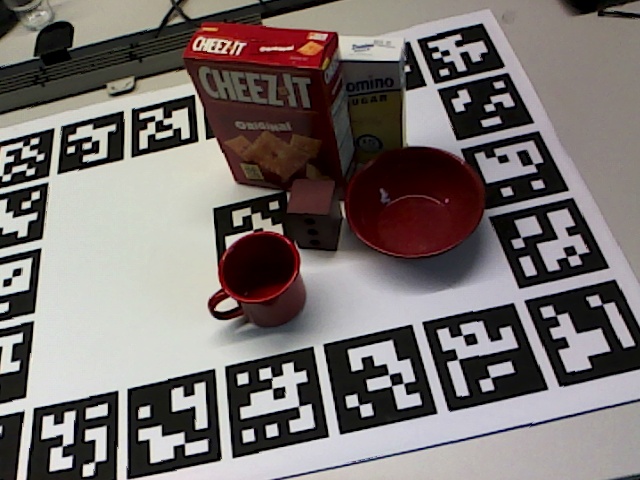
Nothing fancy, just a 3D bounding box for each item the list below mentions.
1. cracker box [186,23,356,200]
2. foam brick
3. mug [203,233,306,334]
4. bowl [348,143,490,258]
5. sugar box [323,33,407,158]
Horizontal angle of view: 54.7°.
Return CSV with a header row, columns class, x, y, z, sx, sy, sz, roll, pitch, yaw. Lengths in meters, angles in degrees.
class,x,y,z,sx,sy,sz,roll,pitch,yaw
cracker box,-0.052,-0.148,0.758,0.165,0.212,0.072,12,58,18
foam brick,-0.008,-0.031,0.757,0.053,0.078,0.051,-1,56,12
mug,-0.074,0.057,0.699,0.117,0.081,0.094,-21,47,-1
bowl,0.116,-0.036,0.729,0.162,0.055,0.162,-6,56,8
sugar box,0.057,-0.175,0.774,0.093,0.175,0.045,5,58,15
